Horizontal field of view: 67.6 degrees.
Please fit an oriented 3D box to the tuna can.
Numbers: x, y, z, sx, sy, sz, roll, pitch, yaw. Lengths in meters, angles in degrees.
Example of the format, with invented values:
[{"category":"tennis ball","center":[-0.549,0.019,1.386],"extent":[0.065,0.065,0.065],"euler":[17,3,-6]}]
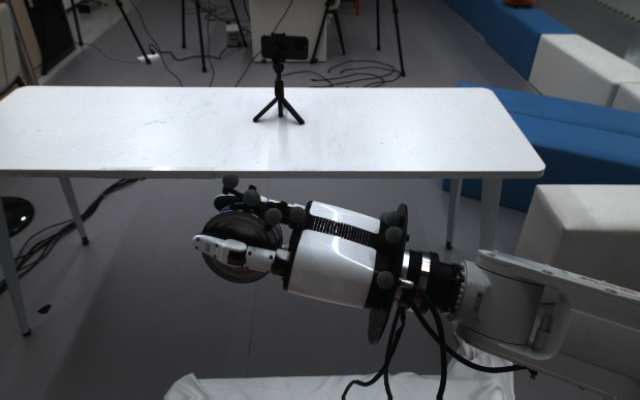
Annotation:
[{"category":"tuna can","center":[-0.082,0.045,0.534],"extent":[0.085,0.085,0.034],"euler":[7,17,7]}]
